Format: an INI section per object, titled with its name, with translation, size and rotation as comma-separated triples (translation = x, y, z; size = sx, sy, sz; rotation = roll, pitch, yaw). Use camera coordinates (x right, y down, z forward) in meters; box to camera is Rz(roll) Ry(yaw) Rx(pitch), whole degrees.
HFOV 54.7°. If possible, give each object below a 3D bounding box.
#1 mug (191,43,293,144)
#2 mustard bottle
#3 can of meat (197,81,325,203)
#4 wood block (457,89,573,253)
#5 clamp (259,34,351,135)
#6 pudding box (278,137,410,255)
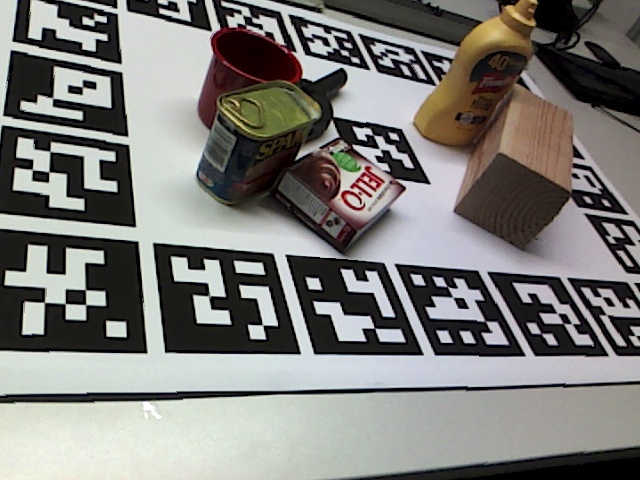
[mug]
translation = -0.083, -0.150, 0.648
size = 0.093, 0.081, 0.117
rotation = 22, 43, -11
[mustard bottle]
translation = 0.199, -0.209, 0.755
size = 0.095, 0.191, 0.059
rotation = 1, 50, -30
[can of meat]
translation = -0.056, -0.088, 0.558
size = 0.058, 0.084, 0.101
rotation = 47, 43, 16
[wood block]
translation = 0.239, -0.091, 0.745
size = 0.090, 0.091, 0.206
rotation = 30, 38, 2
[clamp]
translation = -0.022, -0.171, 0.712
size = 0.121, 0.036, 0.165
rotation = 20, 43, -14
[pudding box]
translation = 0.025, -0.046, 0.606
size = 0.090, 0.039, 0.113
rotation = 40, 40, 10
